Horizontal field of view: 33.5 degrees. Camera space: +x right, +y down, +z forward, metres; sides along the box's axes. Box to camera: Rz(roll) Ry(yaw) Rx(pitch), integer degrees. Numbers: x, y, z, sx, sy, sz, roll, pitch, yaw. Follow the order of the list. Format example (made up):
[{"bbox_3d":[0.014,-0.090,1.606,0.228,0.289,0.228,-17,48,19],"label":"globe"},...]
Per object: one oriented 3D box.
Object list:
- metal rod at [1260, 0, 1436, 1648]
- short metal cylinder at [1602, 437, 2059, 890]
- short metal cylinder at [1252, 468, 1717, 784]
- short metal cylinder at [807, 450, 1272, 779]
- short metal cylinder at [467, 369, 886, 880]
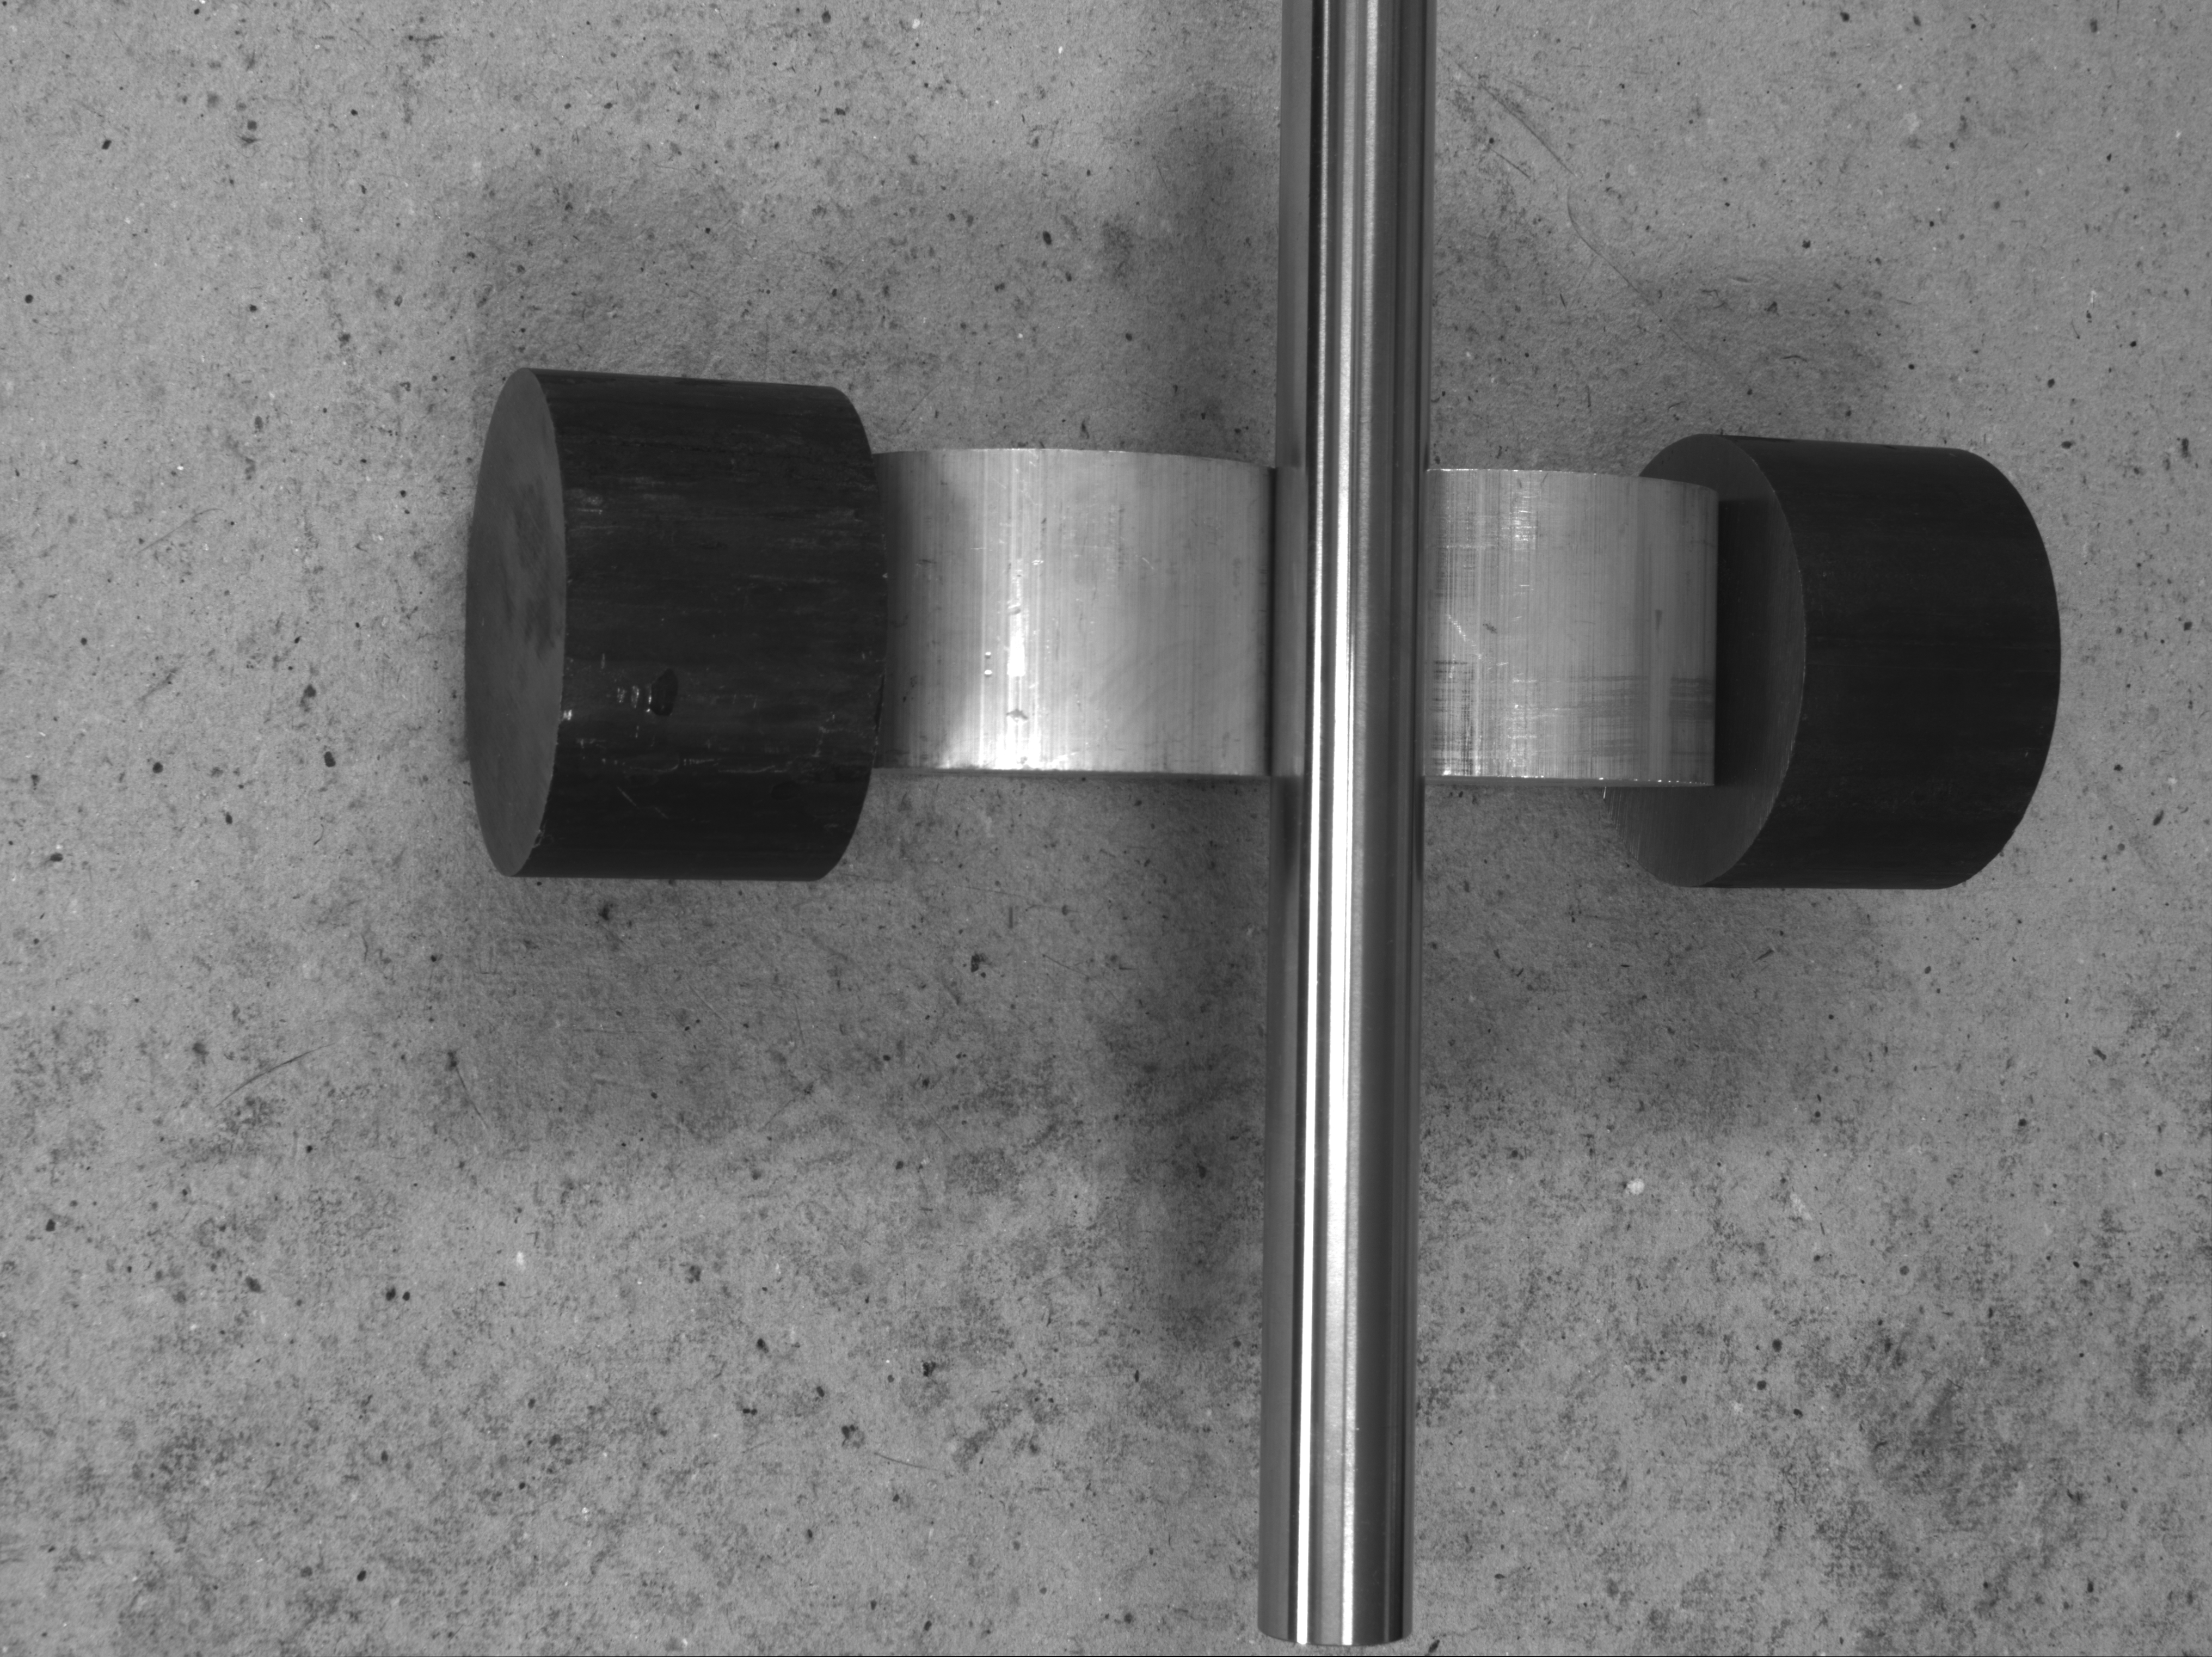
[{"bbox_3d":[0.039,-0.021,0.593,0.025,0.025,0.300,1,90,-20],"label":"metal rod"},{"bbox_3d":[0.127,-0.029,0.661,0.050,0.080,0.080,1,90,-20],"label":"short metal cylinder"},{"bbox_3d":[0.065,-0.033,0.638,0.080,0.080,0.050,1,90,-20],"label":"short metal cylinder"},{"bbox_3d":[-0.010,-0.034,0.611,0.080,0.080,0.050,1,90,-20],"label":"short metal cylinder"},{"bbox_3d":[-0.071,-0.032,0.589,0.050,0.080,0.080,1,90,-20],"label":"short metal cylinder"}]
